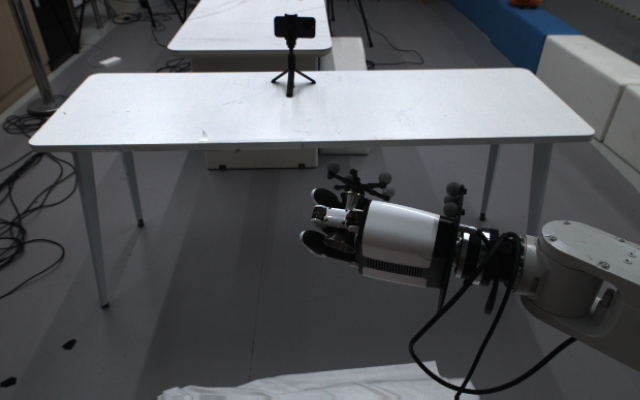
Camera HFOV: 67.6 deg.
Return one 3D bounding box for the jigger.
[{"bbox_3d":[0.038,0.028,0.616,0.043,0.043,0.071,13,70,16],"label":"jigger"}]
